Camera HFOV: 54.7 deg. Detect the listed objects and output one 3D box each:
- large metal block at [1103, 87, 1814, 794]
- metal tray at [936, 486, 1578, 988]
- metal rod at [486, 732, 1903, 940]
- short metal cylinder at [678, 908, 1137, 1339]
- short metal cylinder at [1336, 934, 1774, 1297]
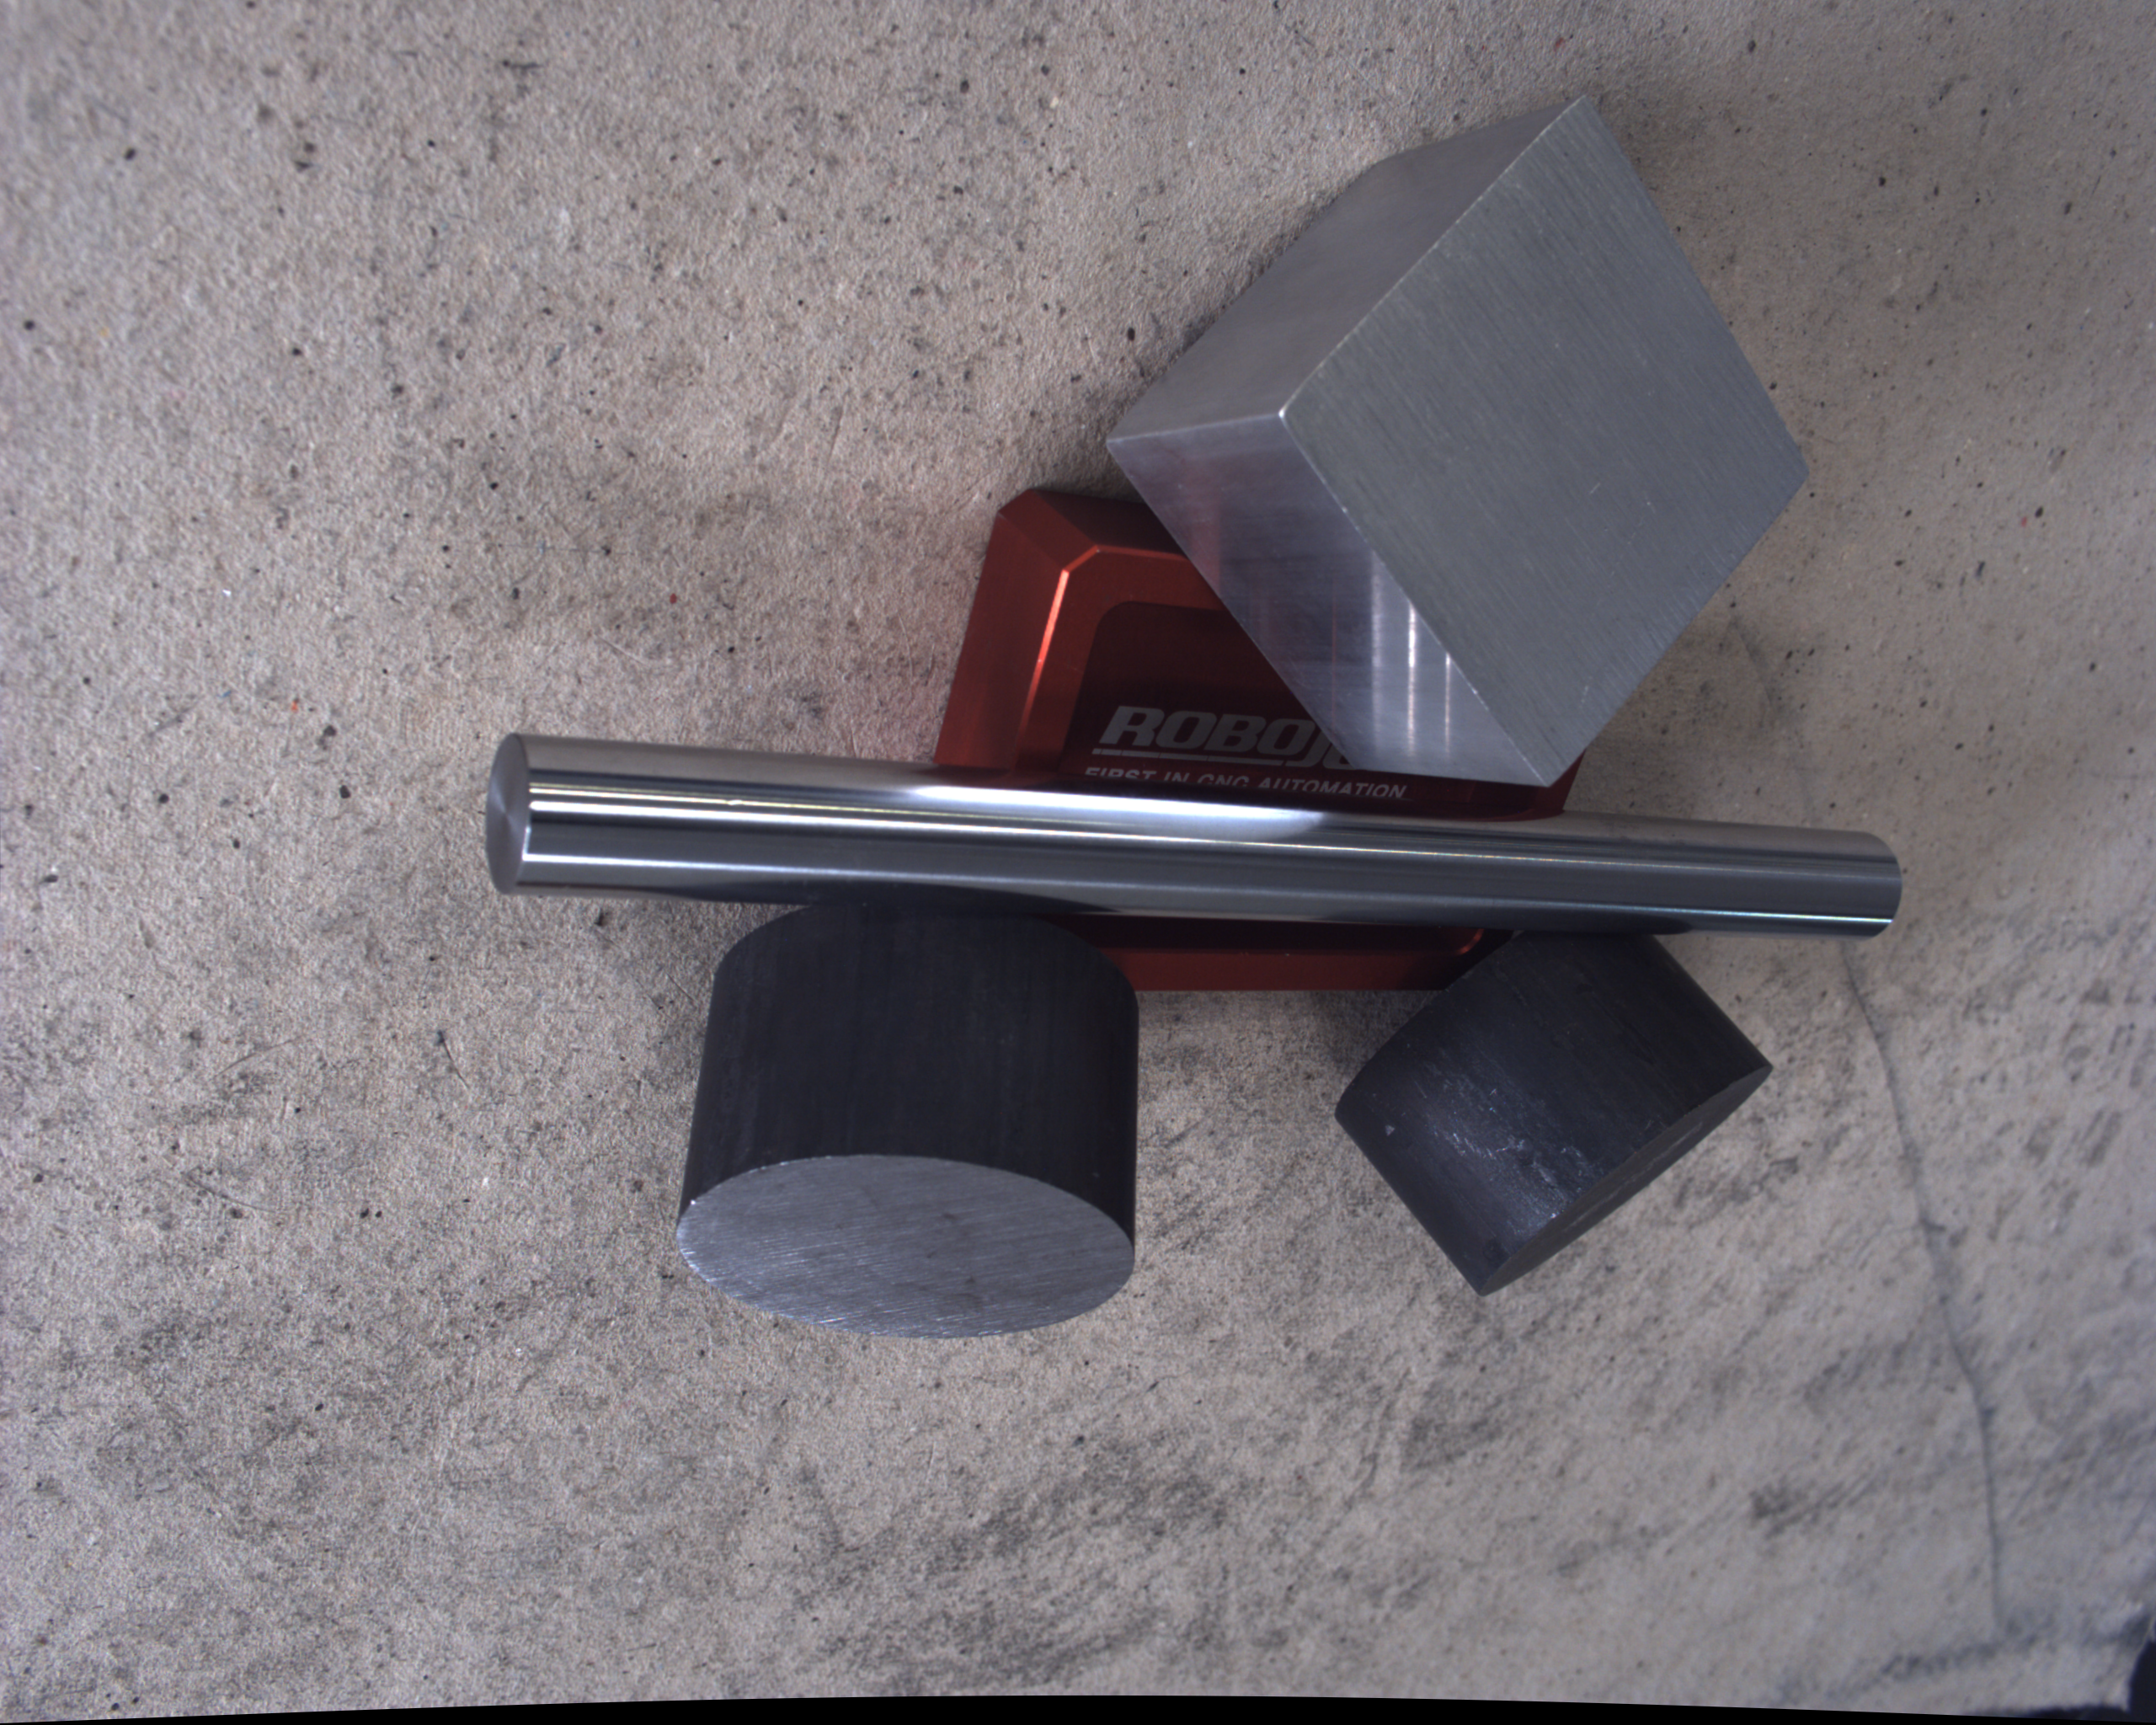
[{"bbox_3d":[0.066,-0.069,0.357,0.080,0.050,0.080,-48,115,-16],"label":"large metal block"},{"bbox_3d":[0.038,-0.021,0.414,0.131,0.030,0.089,2,118,-29],"label":"metal tray"},{"bbox_3d":[0.044,-0.001,0.393,0.302,0.025,0.025,3,117,-30],"label":"metal rod"},{"bbox_3d":[-0.029,0.049,0.383,0.080,0.050,0.080,1,146,1],"label":"short metal cylinder"},{"bbox_3d":[0.104,0.052,0.460,0.080,0.050,0.080,-32,158,-15],"label":"short metal cylinder"}]
